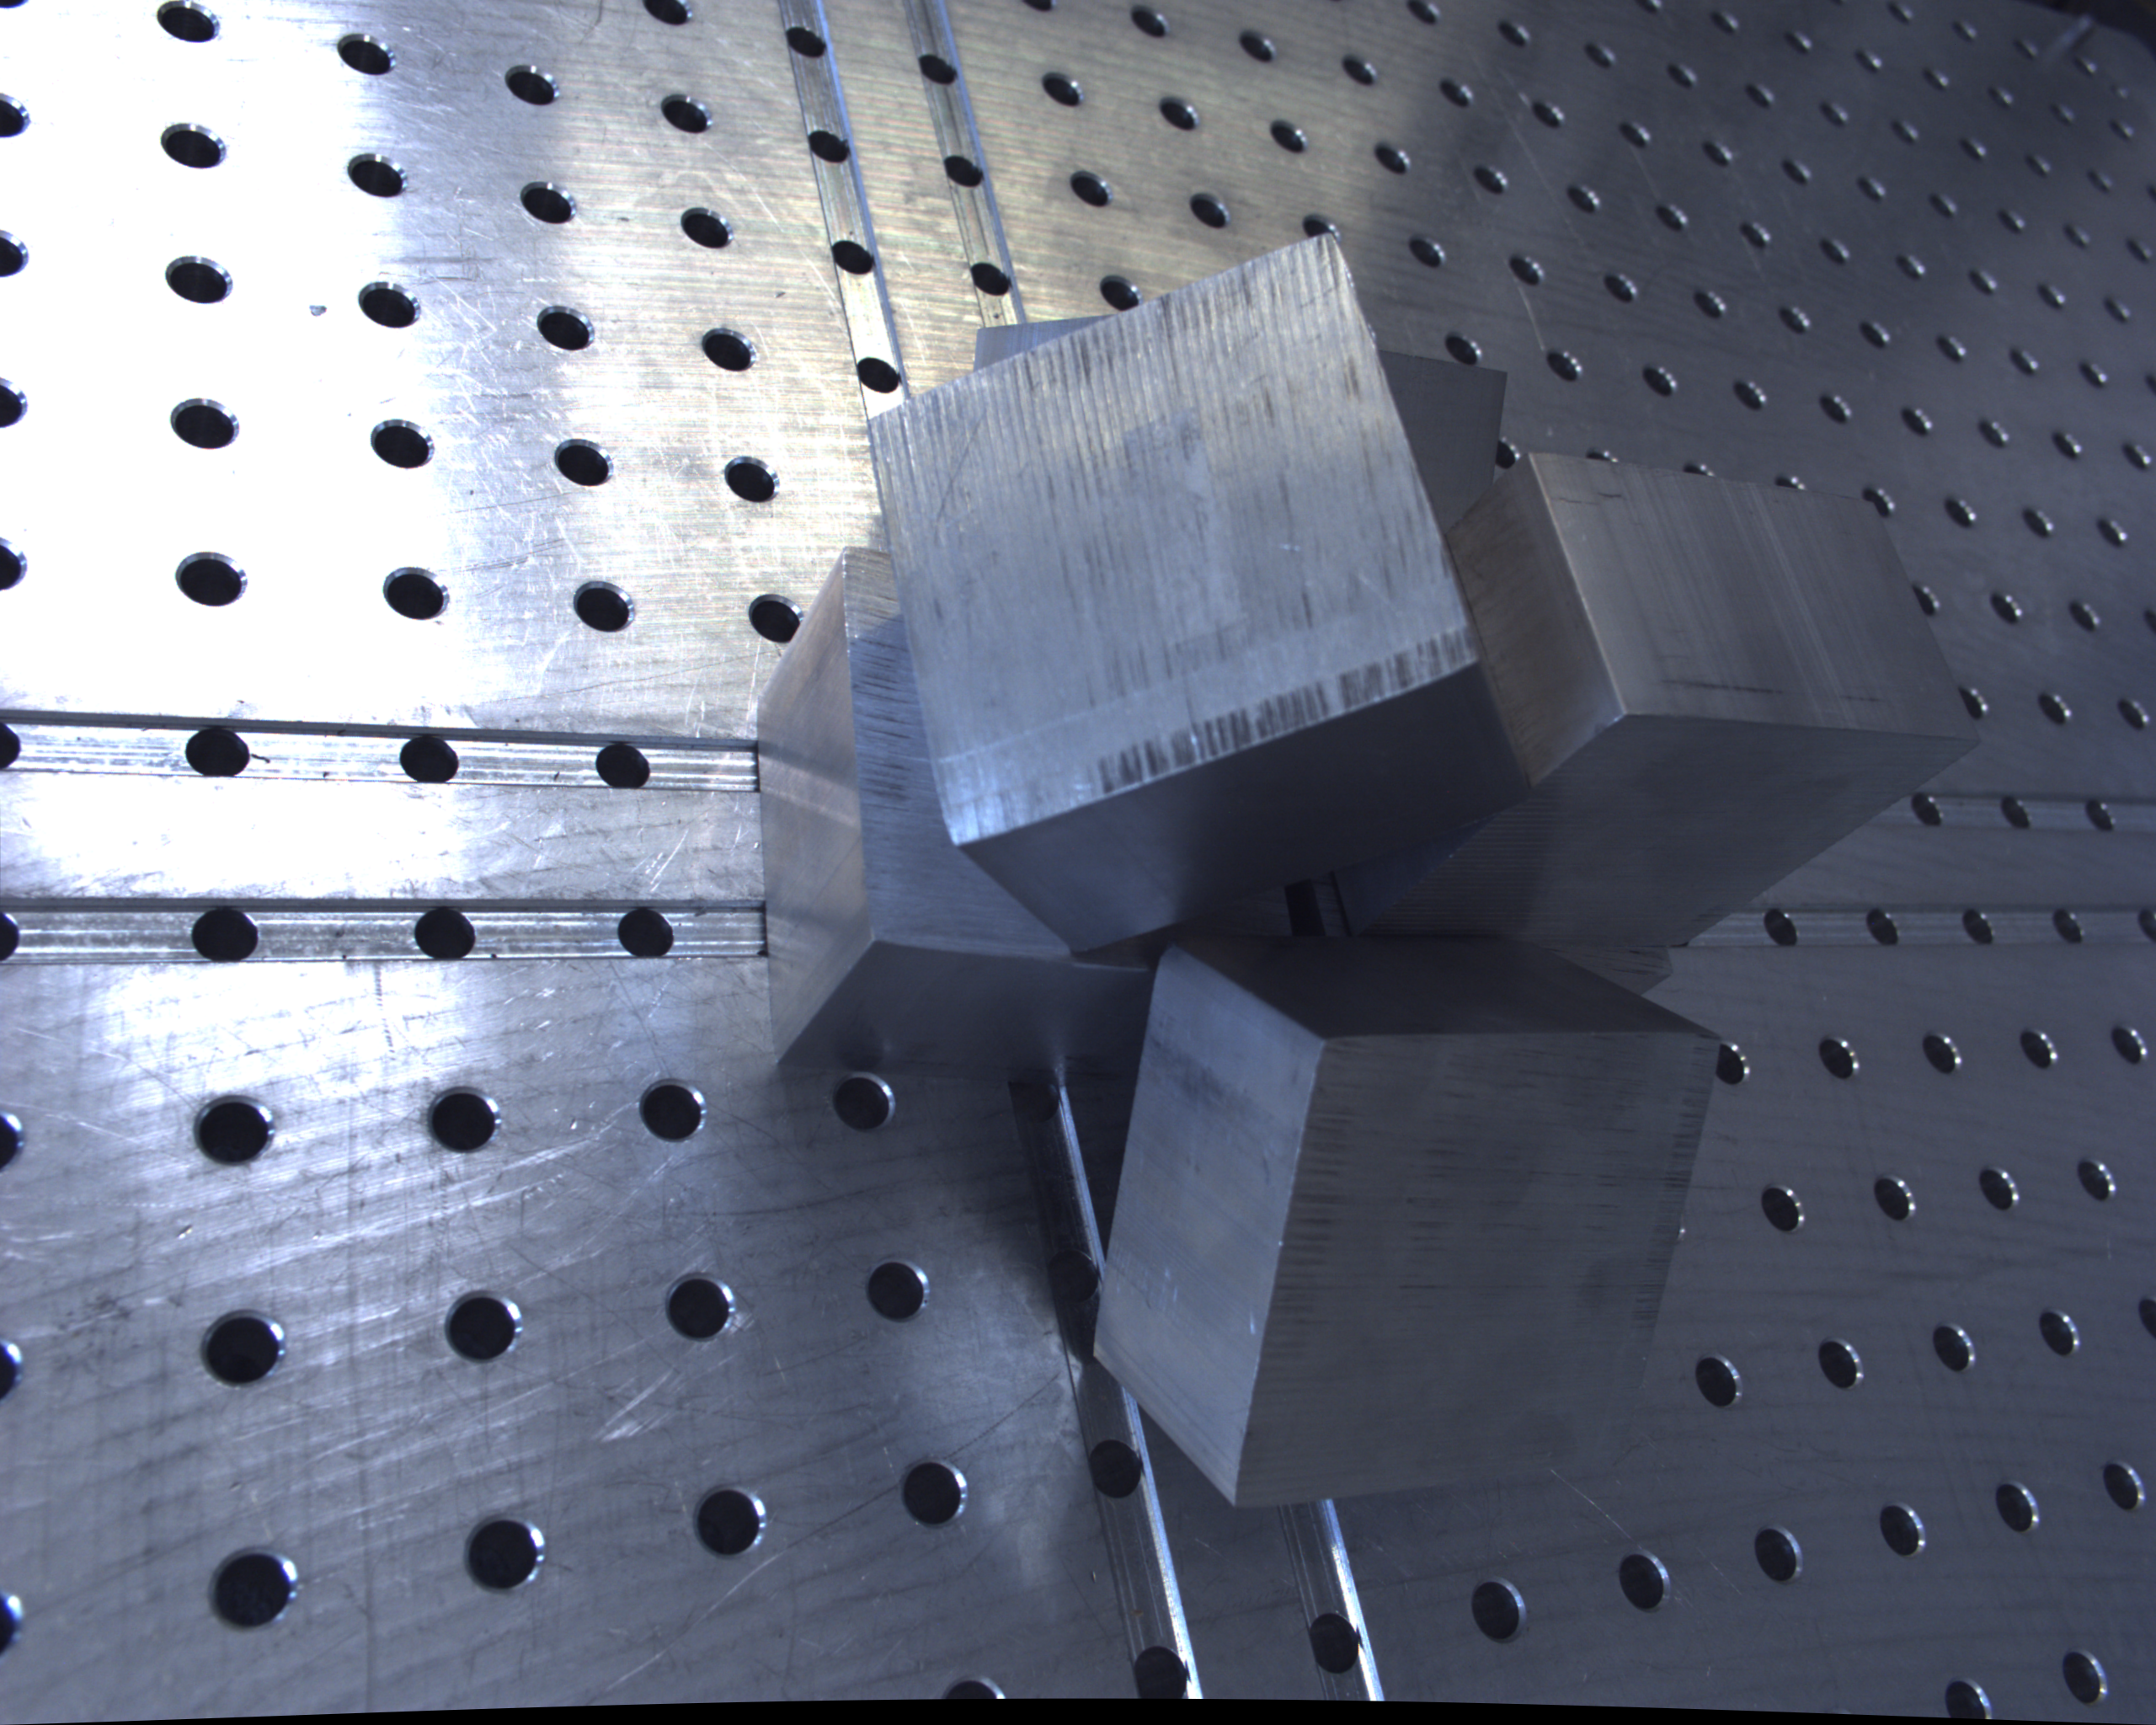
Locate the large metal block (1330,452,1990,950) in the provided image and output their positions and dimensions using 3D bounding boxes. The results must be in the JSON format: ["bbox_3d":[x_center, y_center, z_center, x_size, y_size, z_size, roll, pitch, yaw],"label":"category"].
[{"bbox_3d":[0.096,-0.024,0.375,0.081,0.080,0.050,2,61,-28],"label":"large metal block"}]

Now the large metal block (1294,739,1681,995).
[{"bbox_3d":[0.065,-0.003,0.427,0.081,0.050,0.080,3,61,-27],"label":"large metal block"}]

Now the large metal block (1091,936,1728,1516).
[{"bbox_3d":[0.055,0.059,0.359,0.081,0.050,0.079,2,105,-27],"label":"large metal block"}]

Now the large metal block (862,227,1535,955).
[{"bbox_3d":[0.019,-0.041,0.333,0.080,0.050,0.080,-19,64,13],"label":"large metal block"}]

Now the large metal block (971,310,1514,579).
[{"bbox_3d":[0.029,-0.080,0.427,0.081,0.080,0.050,2,99,-27],"label":"large metal block"}]

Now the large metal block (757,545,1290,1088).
[{"bbox_3d":[-0.012,-0.006,0.389,0.081,0.050,0.080,7,59,-25],"label":"large metal block"}]
